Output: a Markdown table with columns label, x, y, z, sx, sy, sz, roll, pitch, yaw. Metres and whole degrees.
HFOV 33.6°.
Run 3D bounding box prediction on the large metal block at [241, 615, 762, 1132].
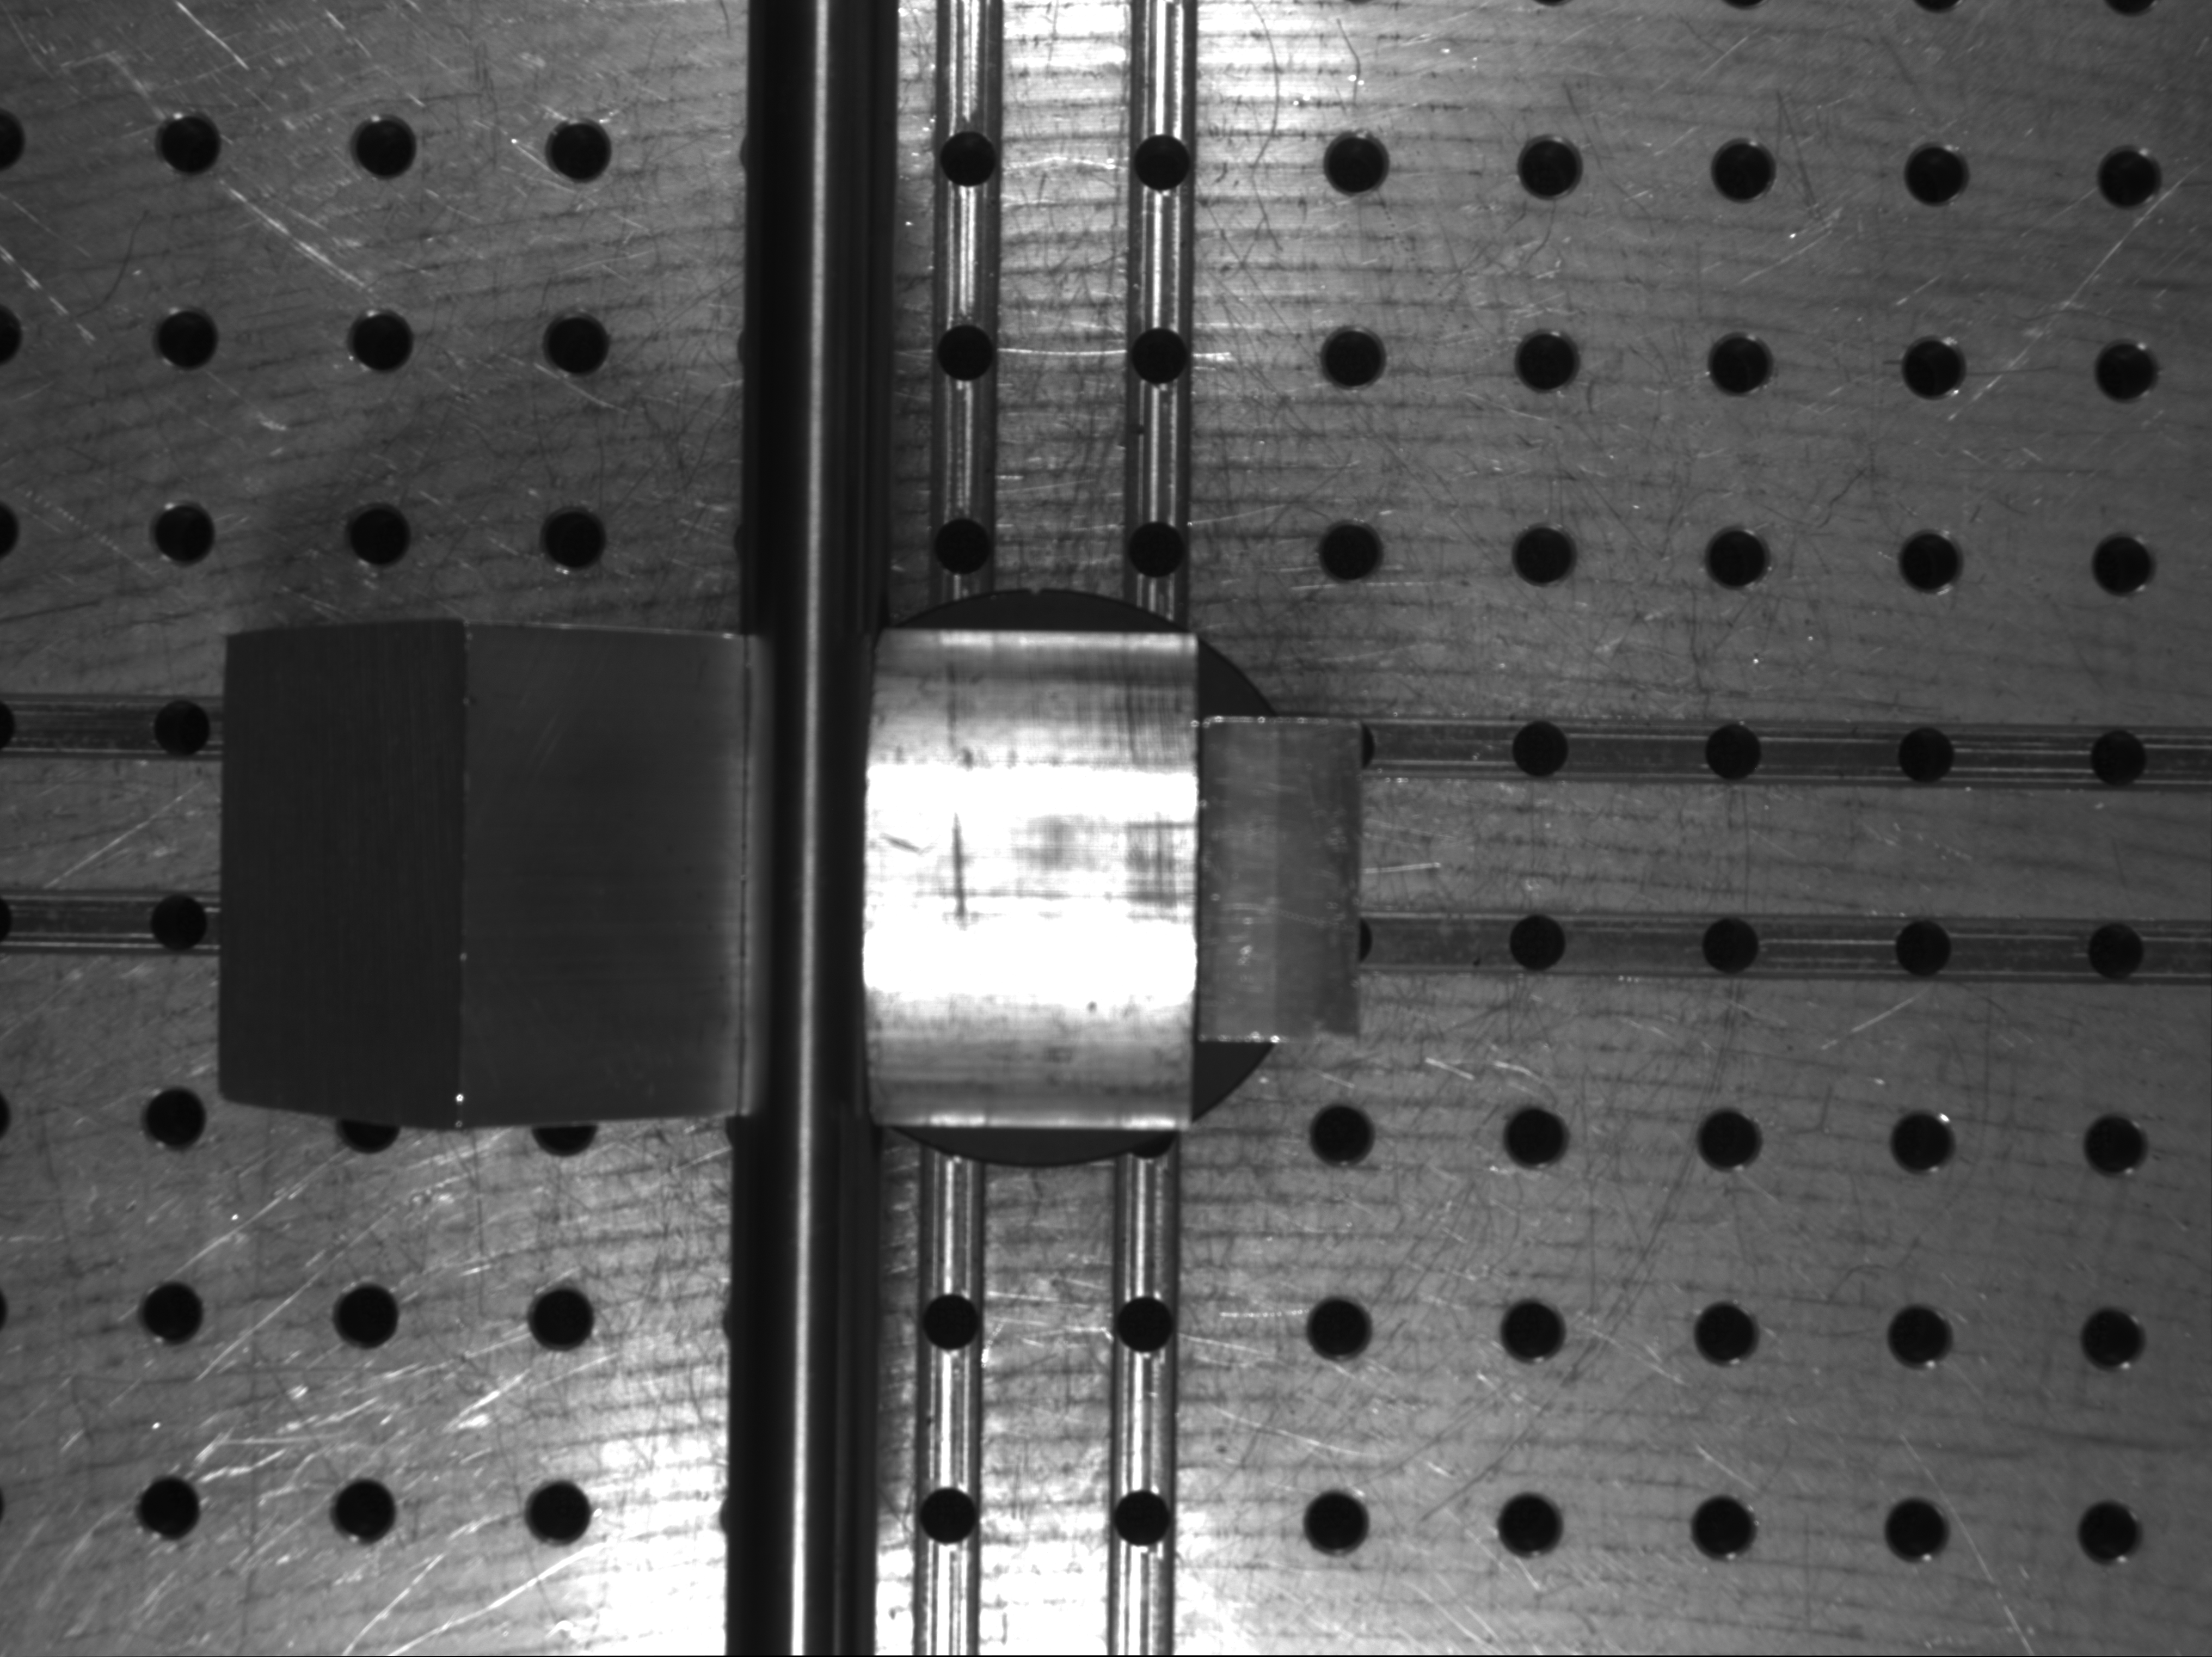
| label | x | y | z | sx | sy | sz | roll | pitch | yaw |
| --- | --- | --- | --- | --- | --- | --- | --- | --- | --- |
| large metal block | -0.102 | 0.007 | 0.613 | 0.050 | 0.080 | 0.080 | 1 | 90 | -41 |

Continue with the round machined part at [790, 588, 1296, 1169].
| label | x | y | z | sx | sy | sz | roll | pitch | yaw |
| --- | --- | --- | --- | --- | --- | --- | --- | --- | --- |
| round machined part | -0.009 | 0.009 | 0.638 | 0.098 | 0.042 | 0.098 | 0 | 90 | 0 |

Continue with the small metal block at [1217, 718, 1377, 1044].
| label | x | y | z | sx | sy | sz | roll | pitch | yaw |
| --- | --- | --- | --- | --- | --- | --- | --- | --- | --- |
| small metal block | 0.029 | 0.008 | 0.593 | 0.025 | 0.050 | 0.050 | 1 | 90 | 0 |

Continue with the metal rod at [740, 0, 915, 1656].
| label | x | y | z | sx | sy | sz | roll | pitch | yaw |
| --- | --- | --- | --- | --- | --- | --- | --- | --- | --- |
| metal rod | -0.046 | 0.000 | 0.606 | 0.025 | 0.025 | 0.300 | 1 | 90 | 0 |

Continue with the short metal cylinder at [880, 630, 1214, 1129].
| label | x | y | z | sx | sy | sz | roll | pitch | yaw |
| --- | --- | --- | --- | --- | --- | --- | --- | --- | --- |
| short metal cylinder | -0.009 | 0.008 | 0.590 | 0.050 | 0.080 | 0.080 | 1 | 90 | 0 |
